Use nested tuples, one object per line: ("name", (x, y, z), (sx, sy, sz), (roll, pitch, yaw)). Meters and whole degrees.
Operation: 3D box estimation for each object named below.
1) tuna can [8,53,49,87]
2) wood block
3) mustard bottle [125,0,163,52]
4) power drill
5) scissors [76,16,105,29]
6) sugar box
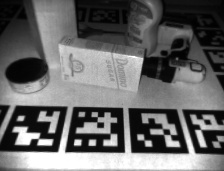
("tuna can", (-0.186, -0.038, 0.482), (0.086, 0.034, 0.085), (3, 49, -2))
("wood block", (-0.140, -0.165, 0.501), (0.091, 0.207, 0.089), (-21, 53, -19))
("mustard bottle", (0.079, -0.182, 0.539), (0.059, 0.192, 0.095), (-32, 57, -26))
("power drill", (0.124, -0.103, 0.550), (0.184, 0.057, 0.187), (12, 56, 7))
("scissors", (-0.060, -0.180, 0.633), (0.203, 0.016, 0.087), (4, 44, -1))
("sugar box", (-0.020, -0.055, 0.475), (0.176, 0.093, 0.045), (12, 45, 5))
